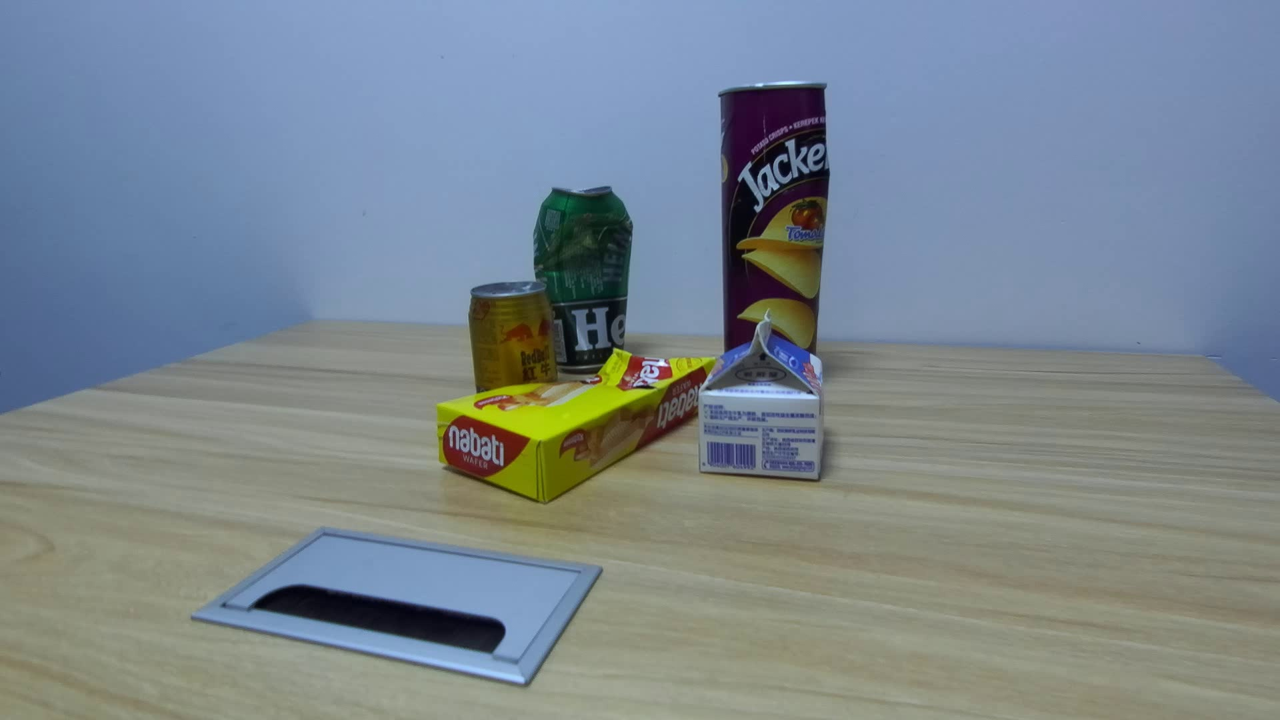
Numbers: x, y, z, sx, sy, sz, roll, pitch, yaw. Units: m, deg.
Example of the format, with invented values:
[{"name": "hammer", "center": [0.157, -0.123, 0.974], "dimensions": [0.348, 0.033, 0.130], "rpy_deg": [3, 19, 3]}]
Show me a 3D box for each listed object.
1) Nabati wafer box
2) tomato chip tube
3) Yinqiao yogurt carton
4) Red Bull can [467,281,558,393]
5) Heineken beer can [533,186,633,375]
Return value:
[{"name": "Nabati wafer box", "center": [-0.034, 0.032, 0.499], "dimensions": [0.106, 0.042, 0.205], "rpy_deg": [11, 20, 35]}, {"name": "tomato chip tube", "center": [0.105, -0.093, 0.564], "dimensions": [0.076, 0.235, 0.077], "rpy_deg": [-2, 13, 0]}, {"name": "Yinqiao yogurt carton", "center": [0.077, 0.017, 0.439], "dimensions": [0.073, 0.092, 0.076], "rpy_deg": [1, 15, 15]}, {"name": "Red Bull can", "center": [-0.101, -0.011, 0.566], "dimensions": [0.067, 0.093, 0.067], "rpy_deg": [-3, 15, 1]}, {"name": "Heineken beer can", "center": [-0.052, -0.072, 0.637], "dimensions": [0.077, 0.164, 0.066], "rpy_deg": [7, 20, 22]}]
